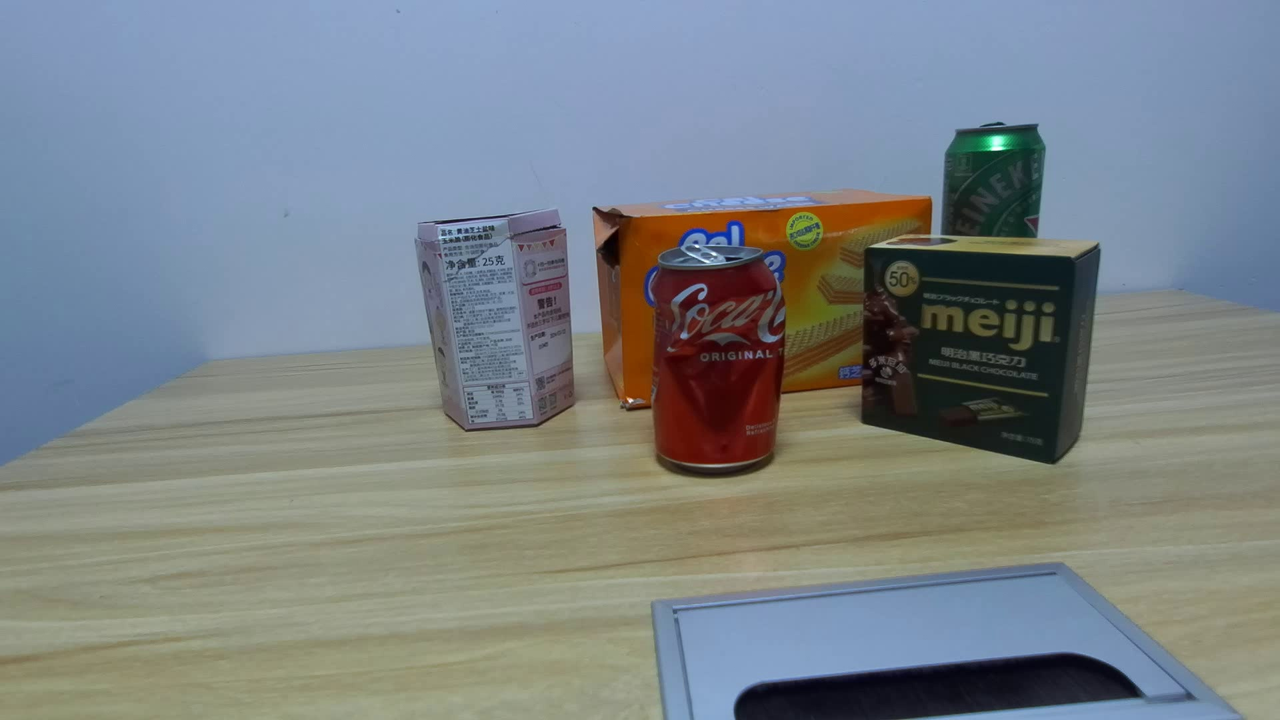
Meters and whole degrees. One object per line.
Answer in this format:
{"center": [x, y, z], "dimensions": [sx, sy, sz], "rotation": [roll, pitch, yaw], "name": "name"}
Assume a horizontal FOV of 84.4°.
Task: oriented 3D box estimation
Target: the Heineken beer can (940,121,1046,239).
{"center": [0.260, -0.084, 0.529], "dimensions": [0.067, 0.169, 0.067], "rotation": [-2, 12, 1], "name": "Heineken beer can"}

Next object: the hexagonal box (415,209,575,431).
{"center": [-0.094, -0.029, 0.475], "dimensions": [0.084, 0.135, 0.092], "rotation": [6, 18, 32], "name": "hexagonal box"}

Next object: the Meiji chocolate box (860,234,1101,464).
{"center": [0.185, -0.011, 0.394], "dimensions": [0.109, 0.109, 0.056], "rotation": [11, 22, 41], "name": "Meiji chocolate box"}

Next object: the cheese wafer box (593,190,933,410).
{"center": [0.080, -0.058, 0.535], "dimensions": [0.227, 0.137, 0.149], "rotation": [-6, 16, -8], "name": "cheese wafer box"}

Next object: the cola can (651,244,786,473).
{"center": [0.038, -0.002, 0.377], "dimensions": [0.066, 0.117, 0.065], "rotation": [-8, 17, -16], "name": "cola can"}
